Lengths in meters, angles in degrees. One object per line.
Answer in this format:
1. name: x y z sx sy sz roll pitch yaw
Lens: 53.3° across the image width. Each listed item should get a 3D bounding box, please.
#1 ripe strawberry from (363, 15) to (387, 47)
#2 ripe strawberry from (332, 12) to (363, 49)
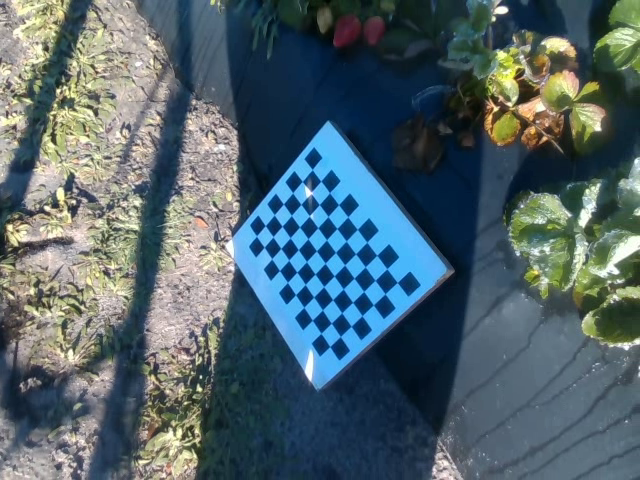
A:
1. ripe strawberry: 0.071 -0.273 0.832 0.036 0.041 0.030 -19 -18 35
2. ripe strawberry: 0.031 -0.272 0.839 0.037 0.051 0.039 12 -32 36
